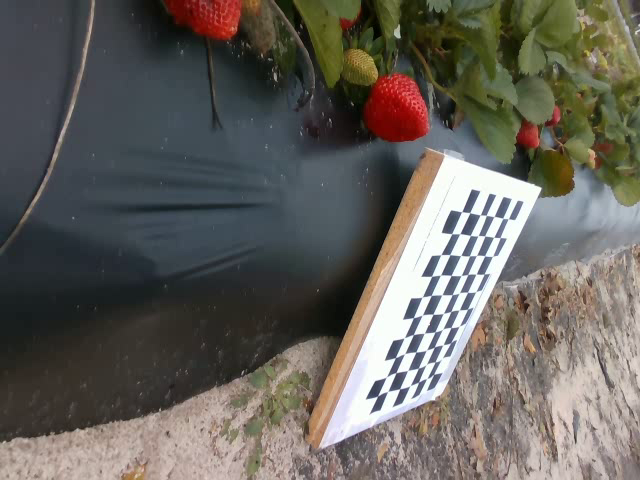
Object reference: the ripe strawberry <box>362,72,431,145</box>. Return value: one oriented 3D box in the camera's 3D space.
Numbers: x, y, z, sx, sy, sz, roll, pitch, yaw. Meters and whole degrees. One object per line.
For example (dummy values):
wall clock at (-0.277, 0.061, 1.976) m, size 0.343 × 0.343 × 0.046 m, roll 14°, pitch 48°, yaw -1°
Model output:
ripe strawberry at (0.064, -0.096, 0.453) m, size 0.057 × 0.056 × 0.065 m, roll -25°, pitch 48°, yaw -17°
